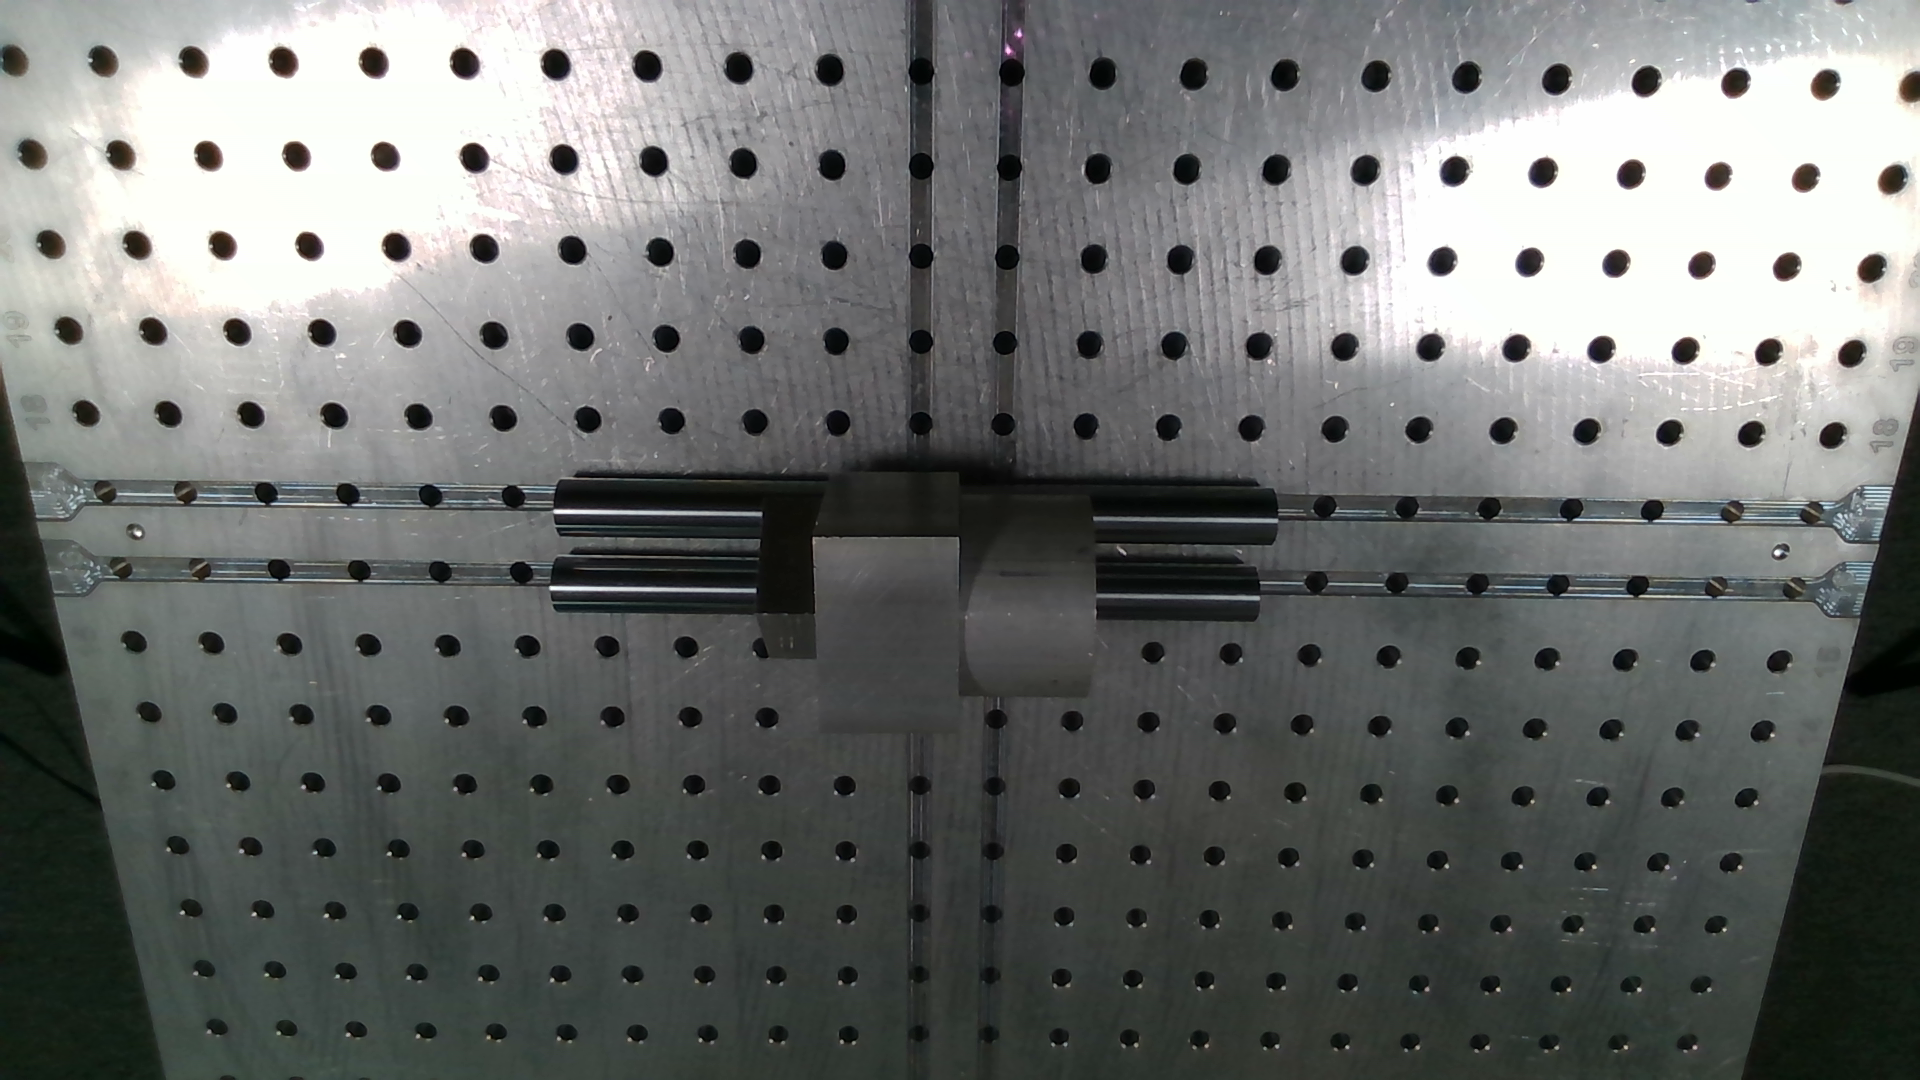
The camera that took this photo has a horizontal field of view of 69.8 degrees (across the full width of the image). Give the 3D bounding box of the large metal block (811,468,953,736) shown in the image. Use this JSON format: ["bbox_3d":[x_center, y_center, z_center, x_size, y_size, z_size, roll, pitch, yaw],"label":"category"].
[{"bbox_3d":[-0.028,0.022,0.540,0.050,0.080,0.080,0,110,0],"label":"large metal block"}]

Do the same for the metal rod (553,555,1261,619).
[{"bbox_3d":[-0.022,0.020,0.596,0.300,0.025,0.025,1,110,0],"label":"metal rod"}]

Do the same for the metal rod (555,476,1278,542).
[{"bbox_3d":[-0.018,-0.013,0.584,0.300,0.025,0.025,1,110,0],"label":"metal rod"}]

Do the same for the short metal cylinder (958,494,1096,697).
[{"bbox_3d":[0.025,0.021,0.543,0.050,0.080,0.080,1,110,0],"label":"short metal cylinder"}]

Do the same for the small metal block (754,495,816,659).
[{"bbox_3d":[-0.066,0.016,0.555,0.025,0.050,0.050,1,155,0],"label":"small metal block"}]
